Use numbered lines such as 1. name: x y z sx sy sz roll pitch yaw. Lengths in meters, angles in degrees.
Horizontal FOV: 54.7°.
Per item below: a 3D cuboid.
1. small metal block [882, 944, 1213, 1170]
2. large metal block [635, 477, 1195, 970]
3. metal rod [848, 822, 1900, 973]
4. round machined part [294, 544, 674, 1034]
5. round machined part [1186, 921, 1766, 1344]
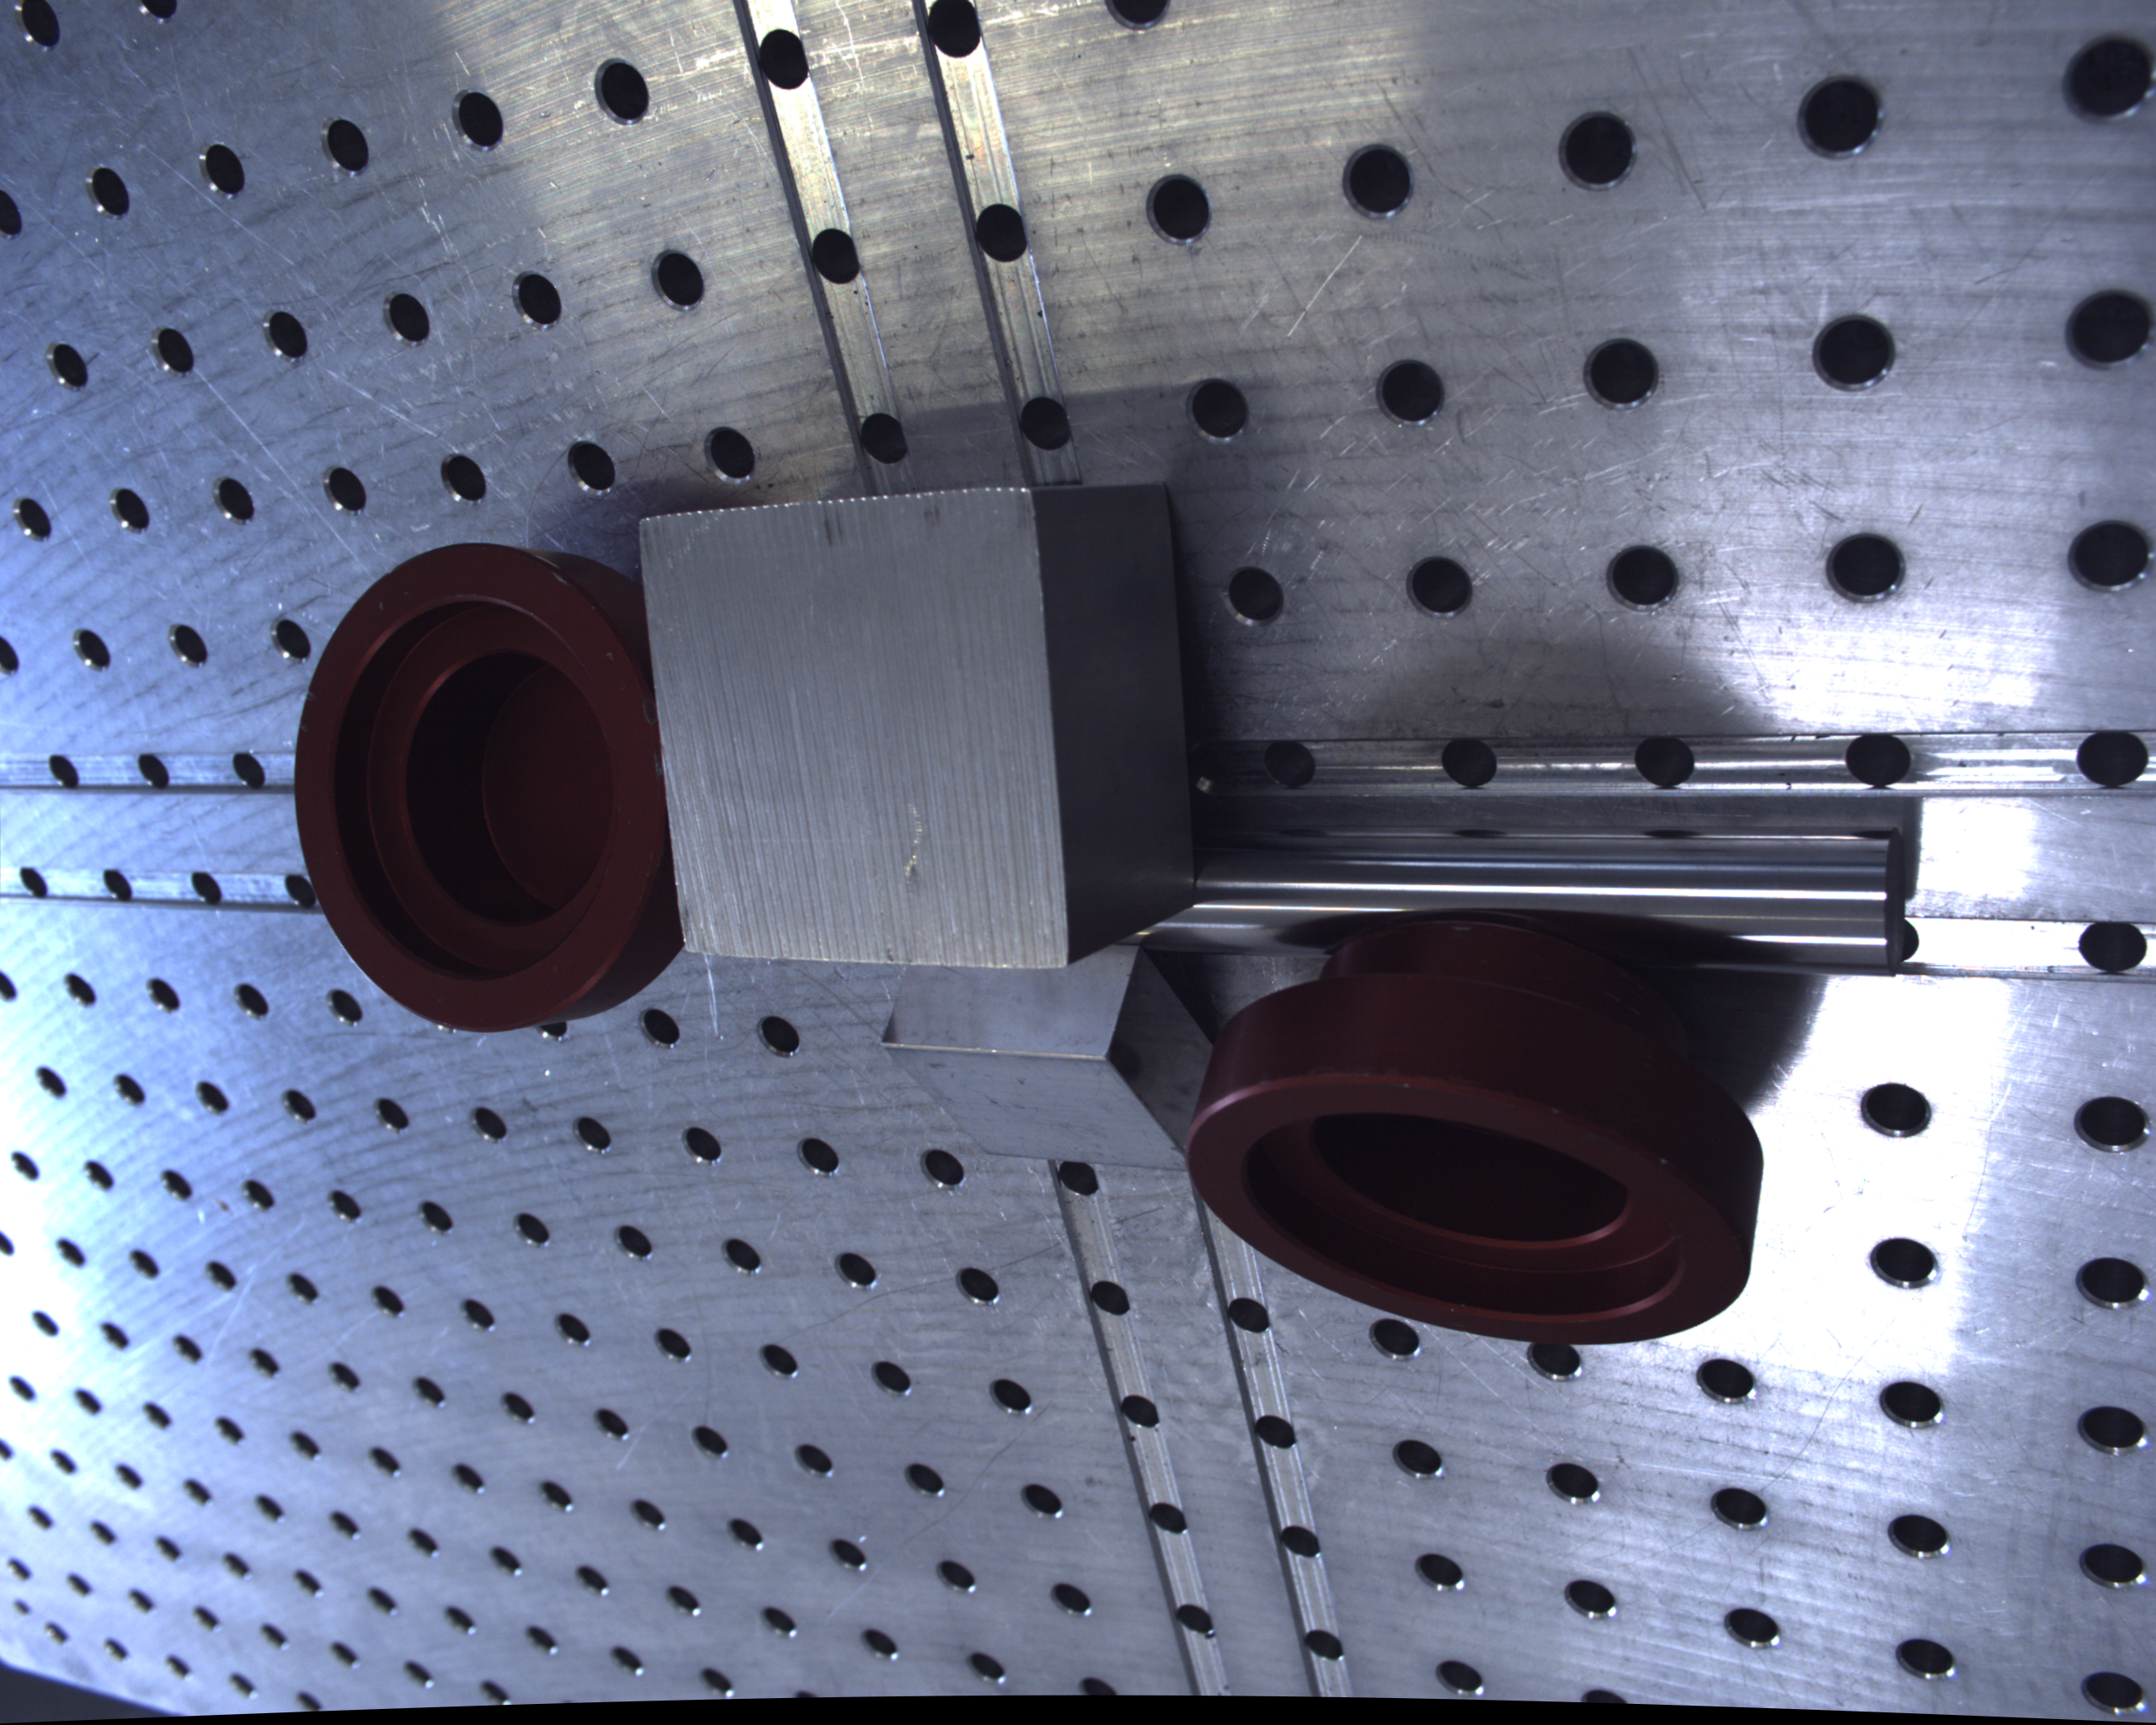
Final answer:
1. small metal block: -0.003 0.039 0.425 0.050 0.025 0.050 1 148 28
2. large metal block: -0.028 -0.026 0.379 0.080 0.050 0.079 1 101 27
3. metal rod: 0.002 0.004 0.414 0.300 0.025 0.025 1 119 27
4. round machined part: -0.112 -0.015 0.433 0.098 0.042 0.097 1 93 28
5. round machined part: 0.072 0.046 0.375 0.098 0.042 0.098 14 148 9
